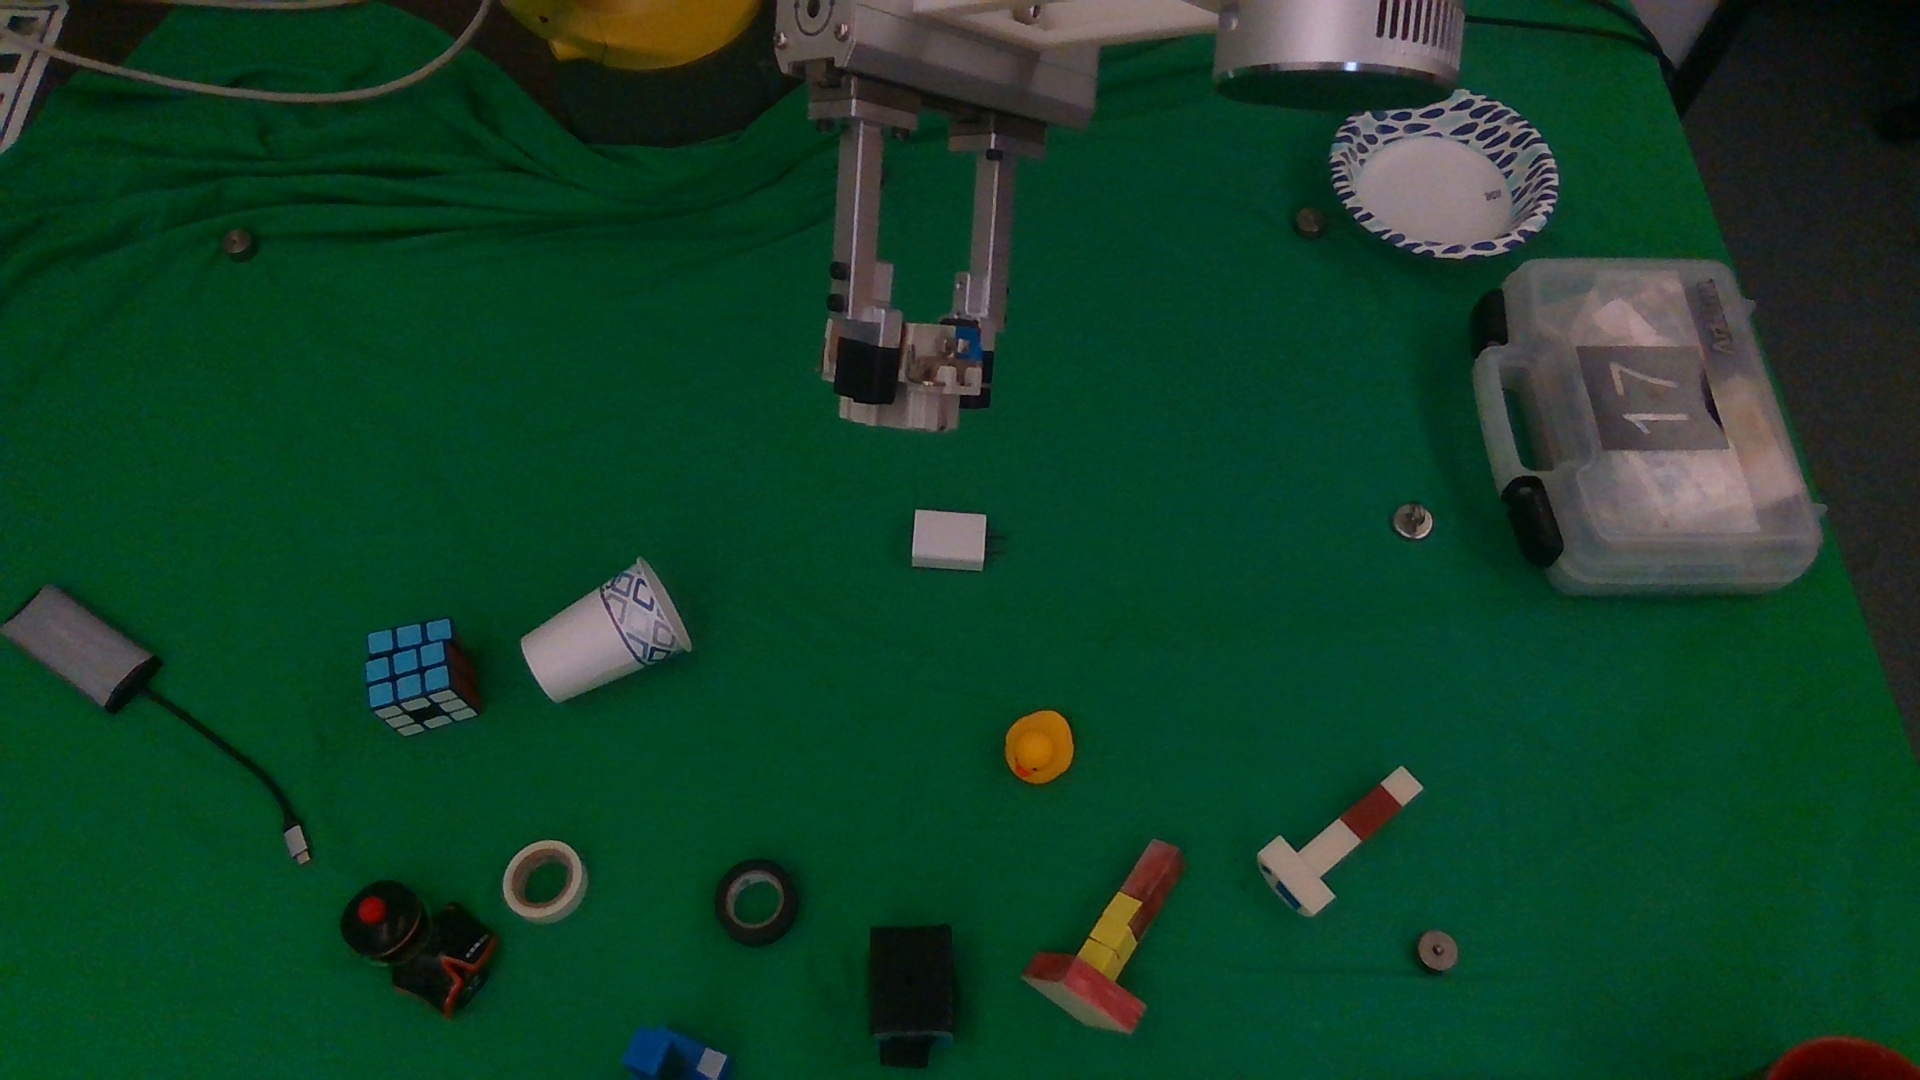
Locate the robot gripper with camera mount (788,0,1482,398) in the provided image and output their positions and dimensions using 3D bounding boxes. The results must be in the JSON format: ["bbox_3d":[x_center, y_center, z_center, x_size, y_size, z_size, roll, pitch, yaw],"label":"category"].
[{"bbox_3d":[0.053,-0.113,0.411,0.194,0.118,0.158,13,99,38],"label":"robot gripper with camera mount"}]

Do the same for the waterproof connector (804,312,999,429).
[{"bbox_3d":[-0.021,-0.058,0.472,0.065,0.037,0.034,12,14,42],"label":"waterproof connector"}]
